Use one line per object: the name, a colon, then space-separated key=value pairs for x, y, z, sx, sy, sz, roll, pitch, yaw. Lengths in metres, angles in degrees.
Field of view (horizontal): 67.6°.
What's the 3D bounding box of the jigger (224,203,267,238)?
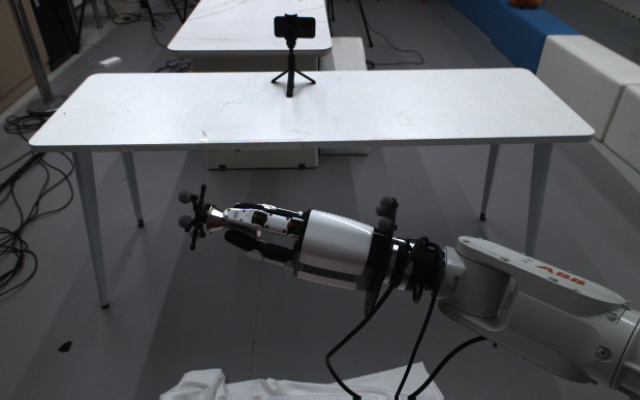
jigger: x=-0.105 y=0.026 z=0.650 sx=0.071 sy=0.043 sz=0.043 roll=6 pitch=35 yaw=2
